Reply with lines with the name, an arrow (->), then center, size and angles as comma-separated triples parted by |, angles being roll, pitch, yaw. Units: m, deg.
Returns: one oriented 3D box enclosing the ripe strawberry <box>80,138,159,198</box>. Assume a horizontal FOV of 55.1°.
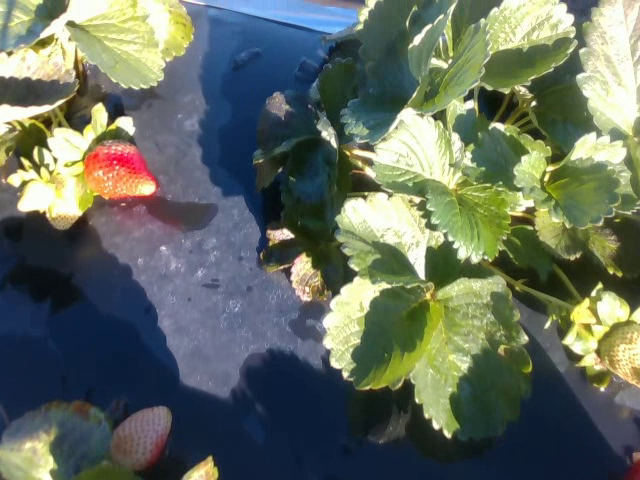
ripe strawberry -> -0.133, -0.044, 0.419 | 0.064, 0.050, 0.052 | 24, 15, 24
